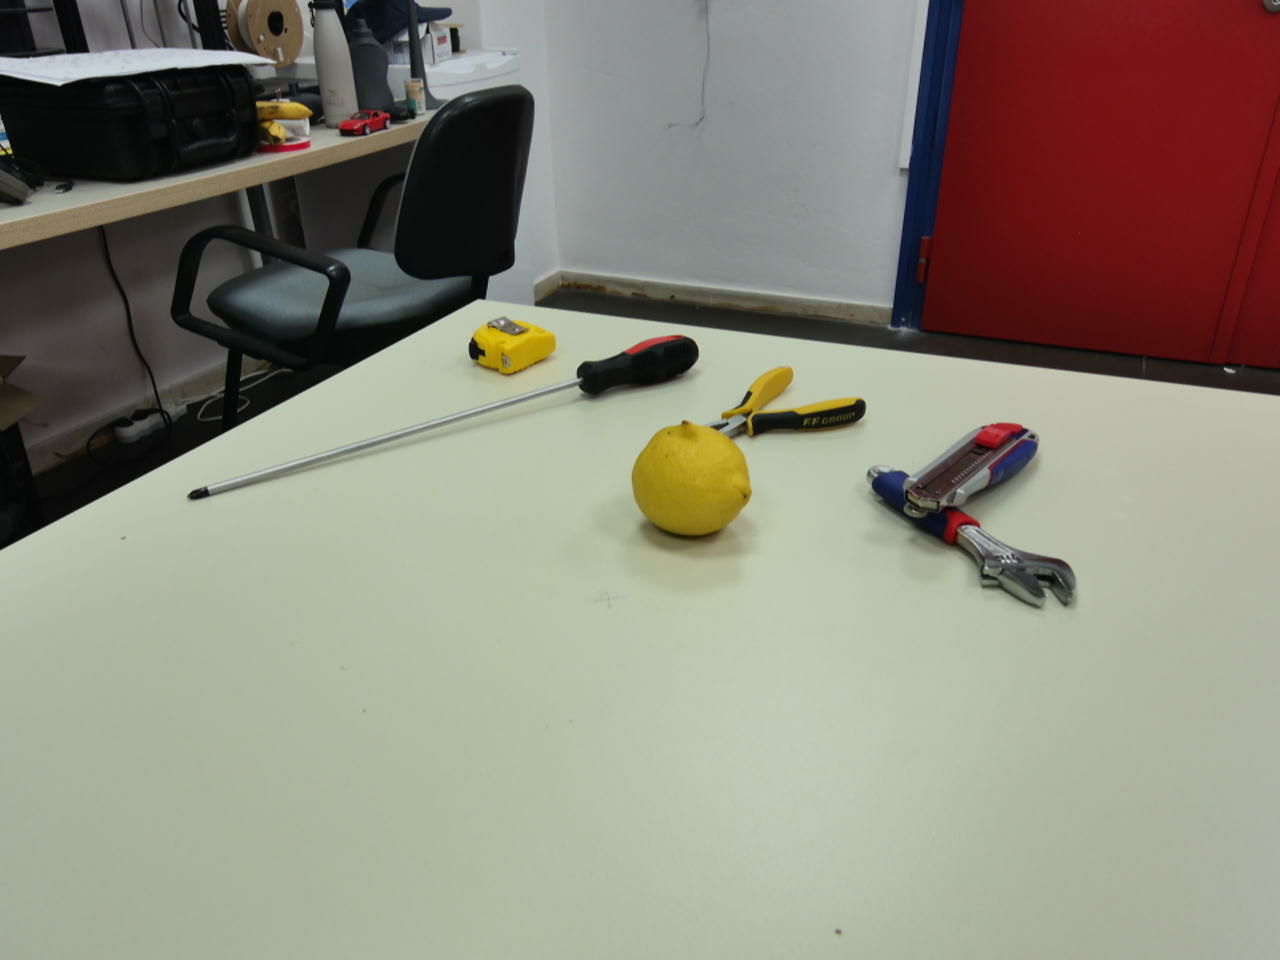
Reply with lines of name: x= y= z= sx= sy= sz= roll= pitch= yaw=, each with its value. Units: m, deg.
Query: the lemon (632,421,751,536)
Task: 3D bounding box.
lemon: x=0.031 y=-0.003 z=0.604 sx=0.070 sy=0.071 sz=0.071 roll=-3 pitch=26 yaw=-9
